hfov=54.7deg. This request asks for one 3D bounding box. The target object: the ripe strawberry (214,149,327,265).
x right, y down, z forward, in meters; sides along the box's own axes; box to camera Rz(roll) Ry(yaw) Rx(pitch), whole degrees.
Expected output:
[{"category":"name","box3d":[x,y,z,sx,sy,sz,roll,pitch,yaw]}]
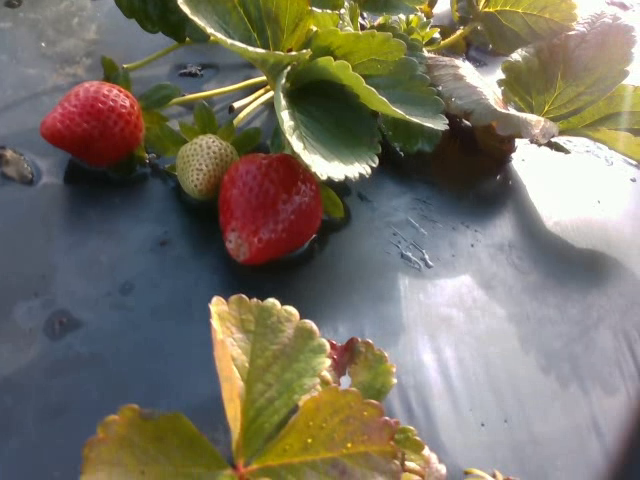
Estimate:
[{"category":"ripe strawberry","box3d":[-0.026,-0.012,0.262,0.048,0.065,0.050,-12,-45,38]}]
